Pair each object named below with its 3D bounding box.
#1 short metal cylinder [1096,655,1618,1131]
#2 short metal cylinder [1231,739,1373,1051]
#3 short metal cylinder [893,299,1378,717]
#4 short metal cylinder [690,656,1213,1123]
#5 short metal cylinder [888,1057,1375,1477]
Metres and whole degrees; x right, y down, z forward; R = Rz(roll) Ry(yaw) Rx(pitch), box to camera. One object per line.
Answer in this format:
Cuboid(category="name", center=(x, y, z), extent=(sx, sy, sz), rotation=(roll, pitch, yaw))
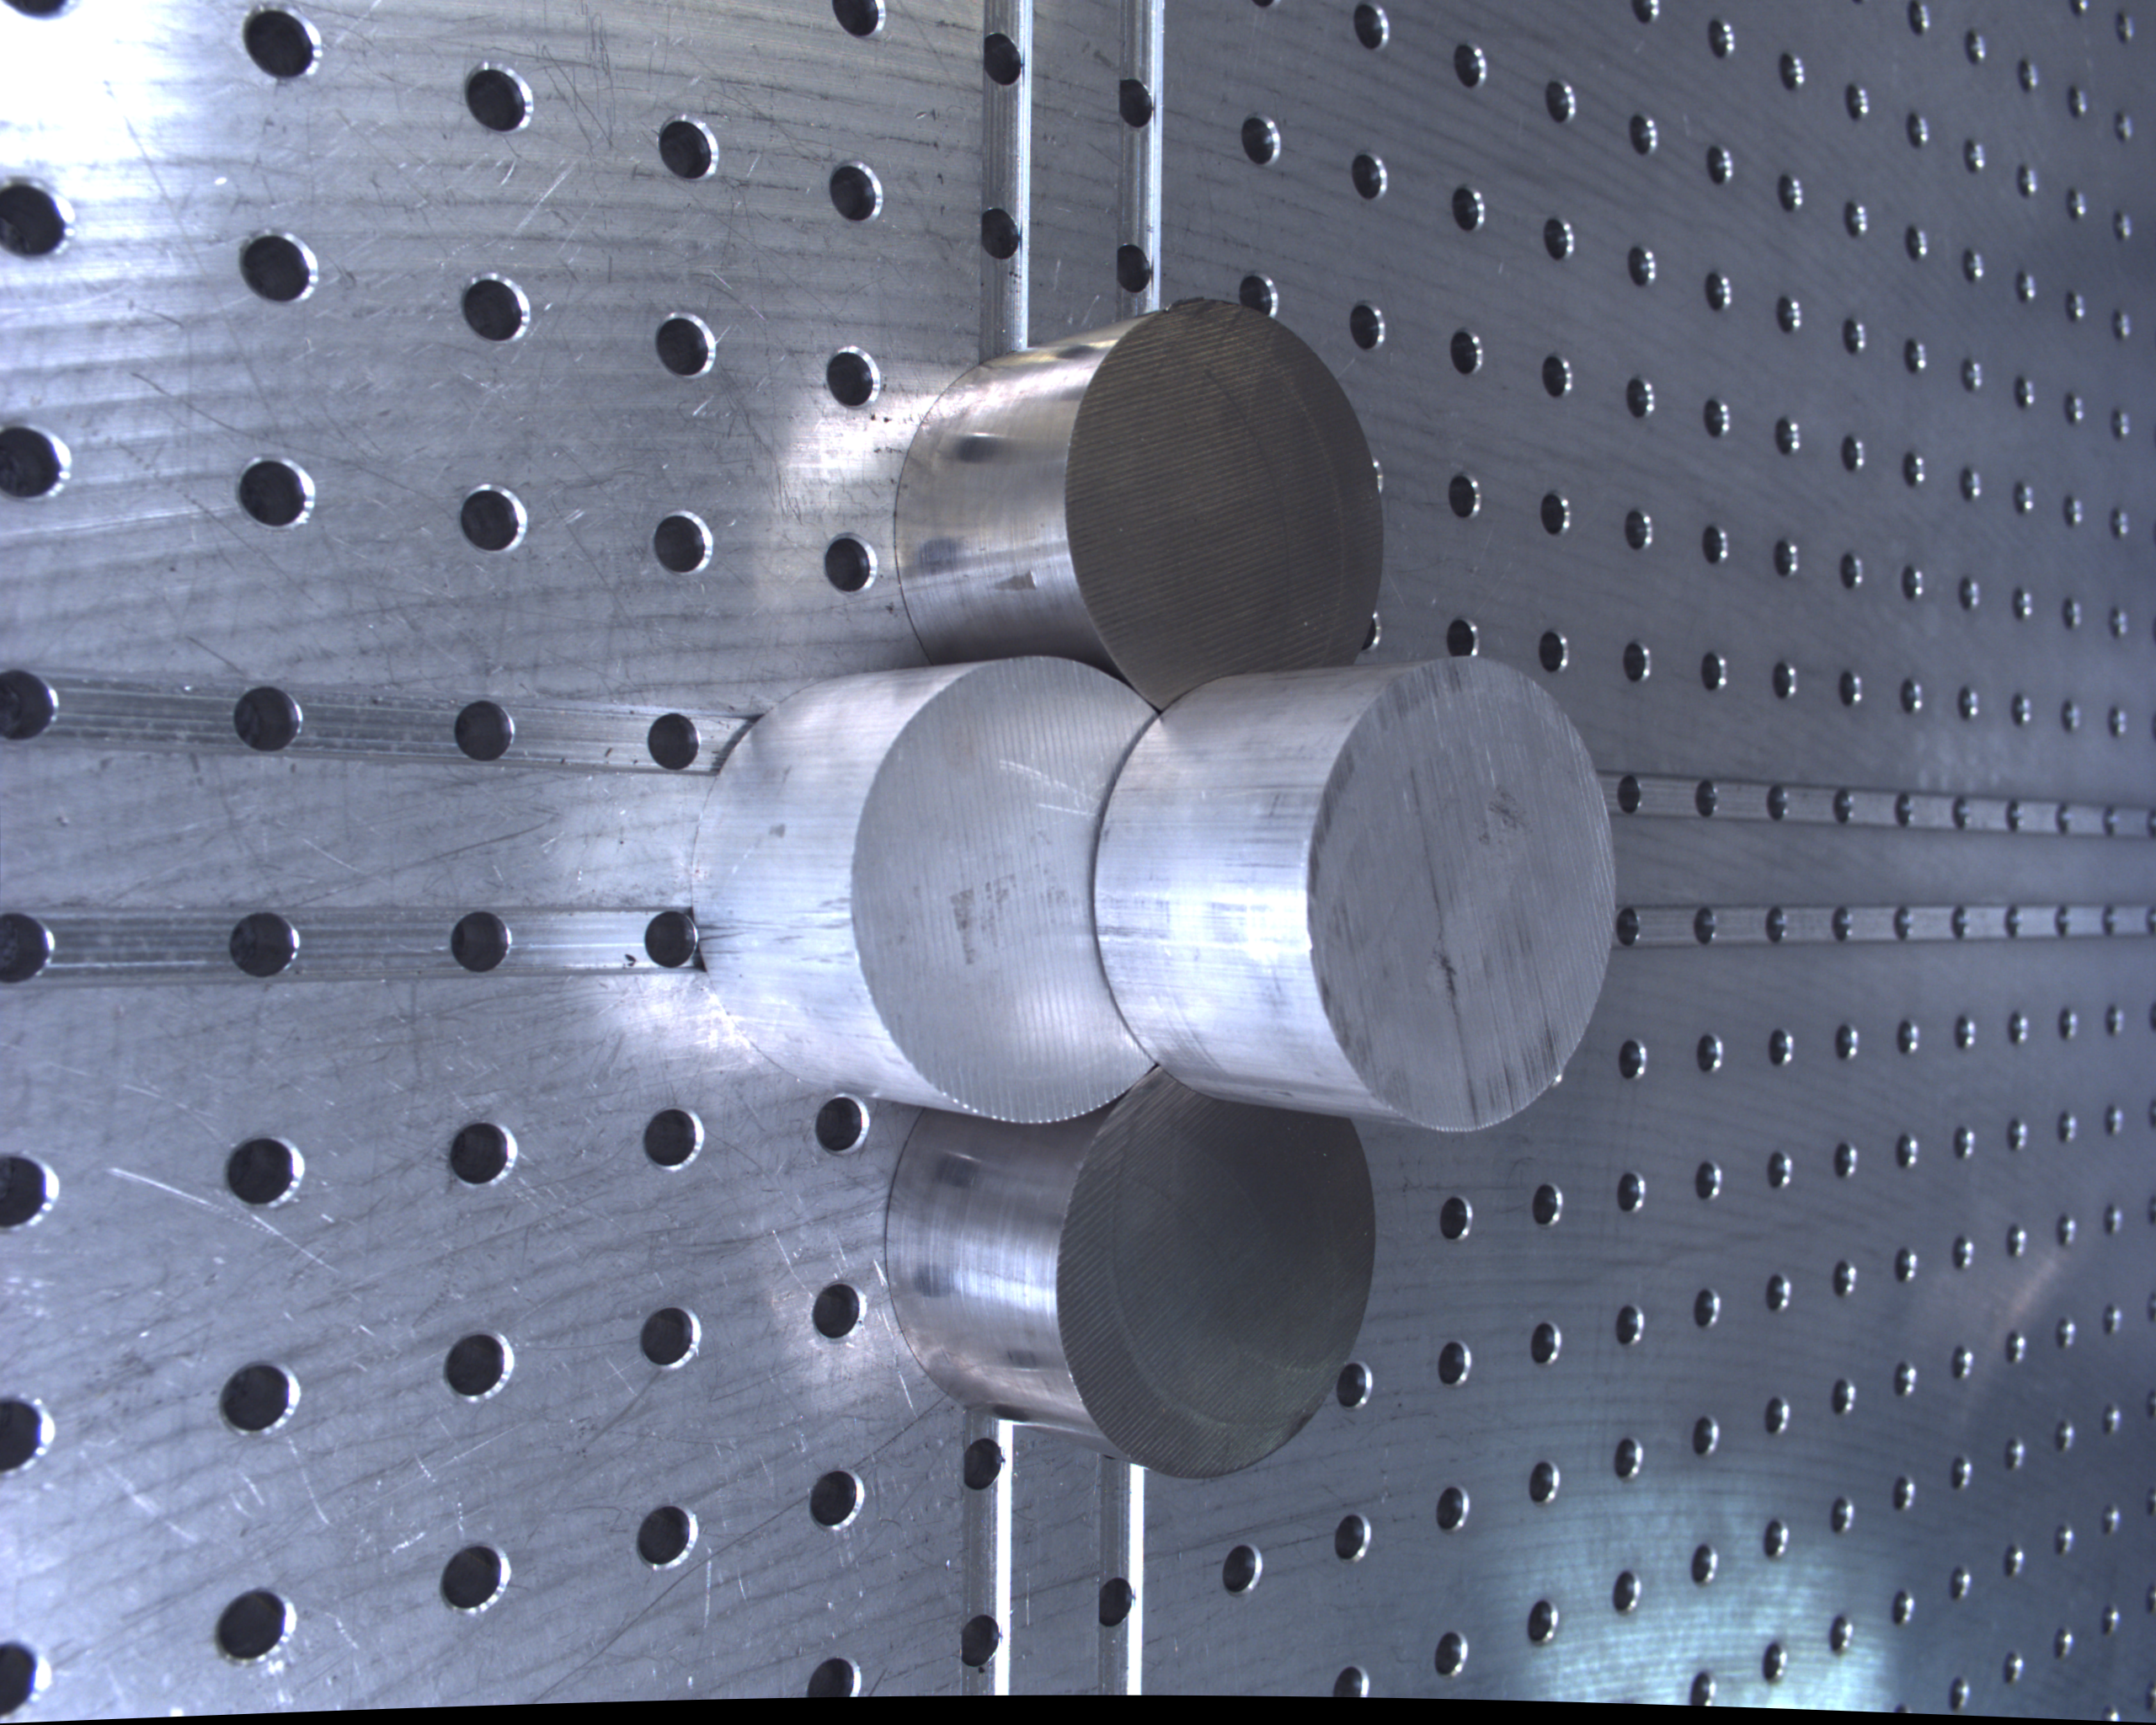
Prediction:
Cuboid(category="short metal cylinder", center=(0.050, 0.005, 0.368), extent=(0.081, 0.050, 0.079), rotation=(0, 90, -40))
Cuboid(category="short metal cylinder", center=(0.045, 0.005, 0.429), extent=(0.081, 0.050, 0.079), rotation=(0, 90, -40))
Cuboid(category="short metal cylinder", center=(0.012, -0.063, 0.402), extent=(0.081, 0.050, 0.079), rotation=(0, 90, -41))
Cuboid(category="short metal cylinder", center=(-0.021, 0.004, 0.374), extent=(0.081, 0.050, 0.079), rotation=(0, 90, -40))
Cuboid(category="short metal cylinder", center=(0.011, 0.073, 0.401), extent=(0.081, 0.050, 0.080), rotation=(2, 87, -40))
